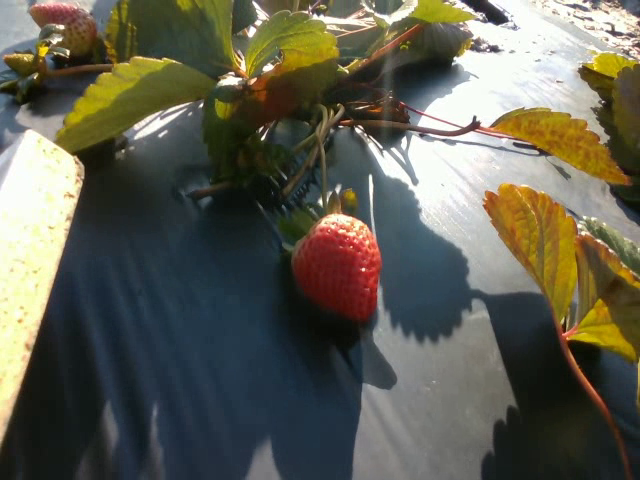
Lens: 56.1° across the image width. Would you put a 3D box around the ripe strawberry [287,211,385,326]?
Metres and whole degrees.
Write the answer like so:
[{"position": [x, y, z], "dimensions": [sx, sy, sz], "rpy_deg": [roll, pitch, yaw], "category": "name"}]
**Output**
[{"position": [0.011, 0.012, 0.233], "dimensions": [0.043, 0.044, 0.064], "rpy_deg": [37, 14, -40], "category": "ripe strawberry"}]
